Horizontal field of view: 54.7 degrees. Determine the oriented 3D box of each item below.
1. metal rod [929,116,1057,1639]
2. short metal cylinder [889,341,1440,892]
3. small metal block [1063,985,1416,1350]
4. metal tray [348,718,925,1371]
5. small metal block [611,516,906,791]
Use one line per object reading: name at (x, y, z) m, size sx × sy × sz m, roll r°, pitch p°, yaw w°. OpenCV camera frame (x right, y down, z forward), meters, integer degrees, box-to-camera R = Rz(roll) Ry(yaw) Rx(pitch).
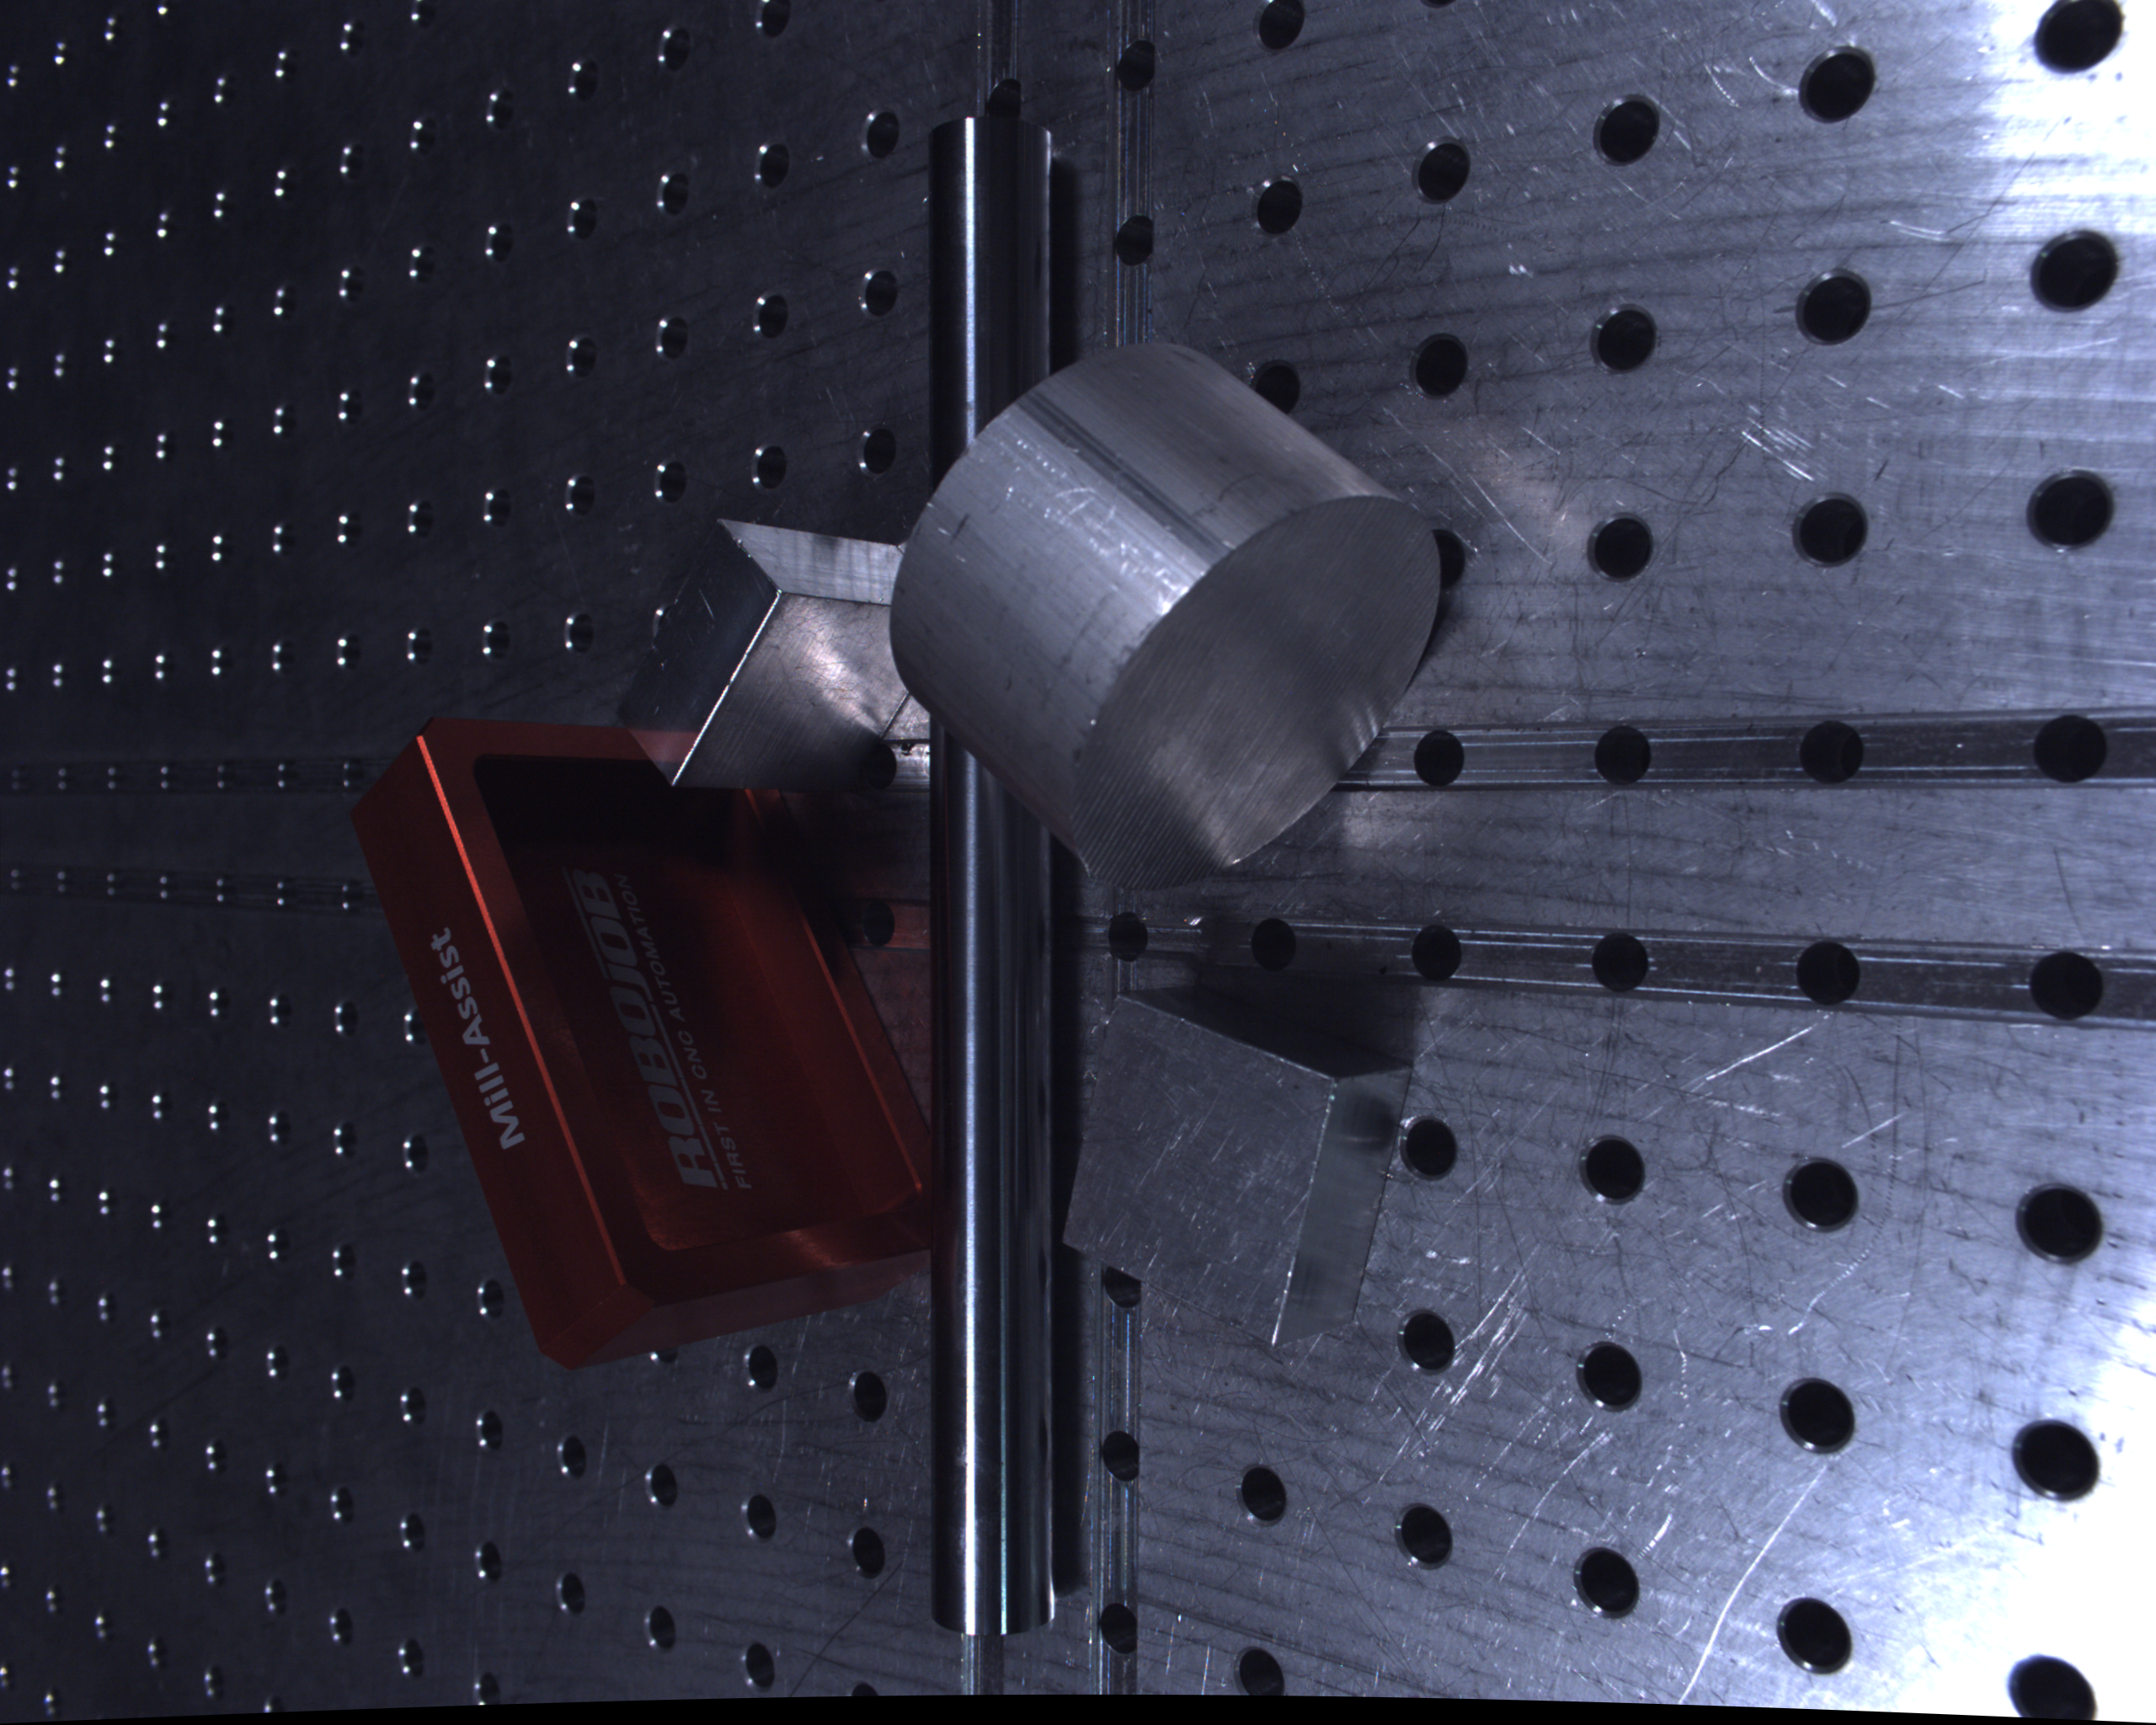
metal rod at (-0.017, 0.003, 0.421) m, size 0.025 × 0.025 × 0.298 m, roll 0°, pitch 90°, yaw 39°
short metal cylinder at (0.015, -0.042, 0.359) m, size 0.050 × 0.081 × 0.080 m, roll 45°, pitch 117°, yaw 30°
small metal block at (0.029, 0.054, 0.385) m, size 0.050 × 0.025 × 0.050 m, roll 19°, pitch 102°, yaw 38°
metal tray at (-0.087, 0.033, 0.435) m, size 0.030 × 0.091 × 0.130 m, roll -40°, pitch 66°, yaw 33°
small metal block at (-0.062, -0.043, 0.441) m, size 0.025 × 0.050 × 0.050 m, roll 49°, pitch 119°, yaw 28°
